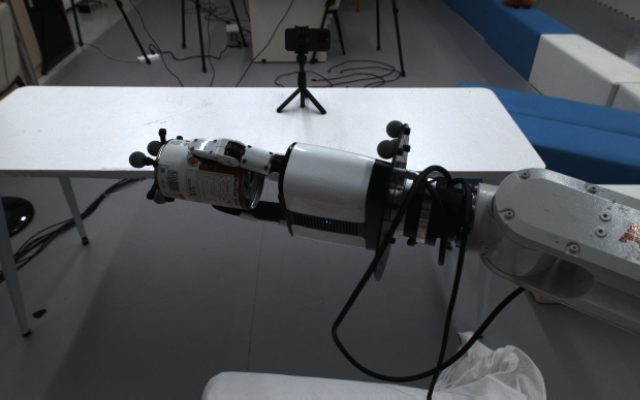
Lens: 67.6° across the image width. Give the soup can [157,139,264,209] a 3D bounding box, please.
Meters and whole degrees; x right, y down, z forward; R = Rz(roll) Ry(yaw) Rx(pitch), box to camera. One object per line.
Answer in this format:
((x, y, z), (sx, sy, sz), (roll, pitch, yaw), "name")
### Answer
((-0.117, -0.028, 0.532), (0.101, 0.067, 0.067), (9, 35, 10), "soup can")
